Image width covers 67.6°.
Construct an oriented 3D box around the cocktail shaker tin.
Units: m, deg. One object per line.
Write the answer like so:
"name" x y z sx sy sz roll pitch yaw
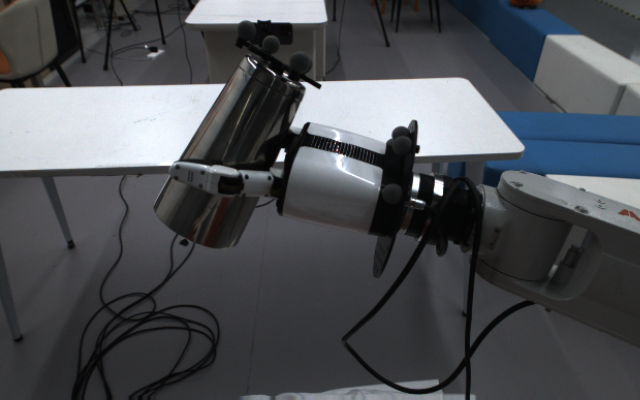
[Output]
"cocktail shaker tin" -0.081 -0.050 0.471 0.093 0.170 0.093 28 14 -7
